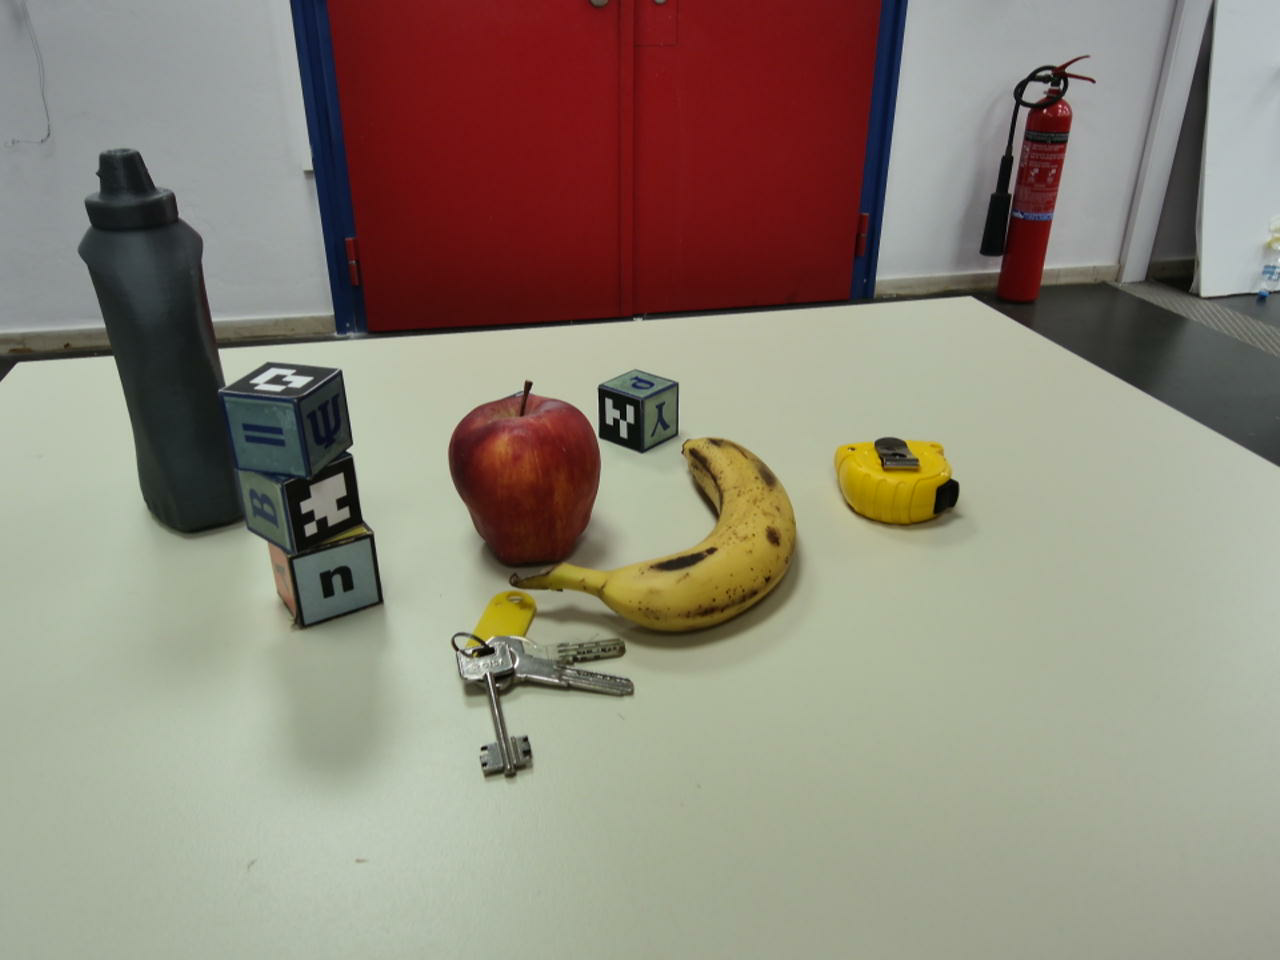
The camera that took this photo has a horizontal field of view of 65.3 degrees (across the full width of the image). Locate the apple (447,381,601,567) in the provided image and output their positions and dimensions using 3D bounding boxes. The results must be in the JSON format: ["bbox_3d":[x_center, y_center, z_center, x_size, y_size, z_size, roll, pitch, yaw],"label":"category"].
[{"bbox_3d":[-0.059,-0.007,0.509,0.083,0.090,0.083,-1,26,0],"label":"apple"}]
